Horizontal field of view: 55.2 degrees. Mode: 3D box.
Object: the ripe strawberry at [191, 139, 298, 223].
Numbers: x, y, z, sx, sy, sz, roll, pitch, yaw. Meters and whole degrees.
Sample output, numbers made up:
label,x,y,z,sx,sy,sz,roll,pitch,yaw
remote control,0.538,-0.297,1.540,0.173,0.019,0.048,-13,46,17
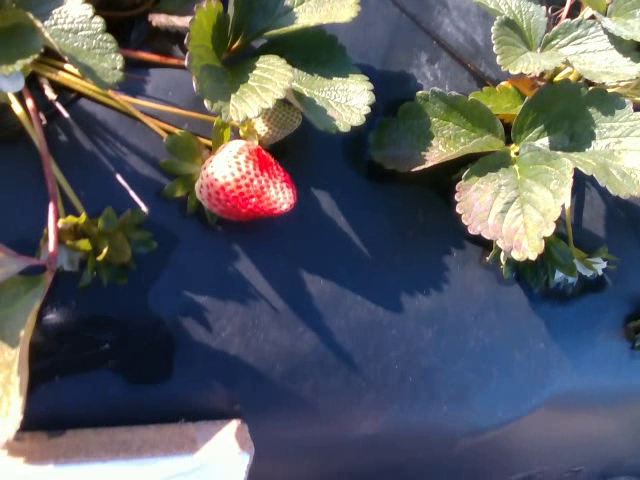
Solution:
label,x,y,z,sx,sy,sz,roll,pitch,yaw
ripe strawberry,-0.025,-0.021,0.220,0.045,0.037,0.042,20,37,35
